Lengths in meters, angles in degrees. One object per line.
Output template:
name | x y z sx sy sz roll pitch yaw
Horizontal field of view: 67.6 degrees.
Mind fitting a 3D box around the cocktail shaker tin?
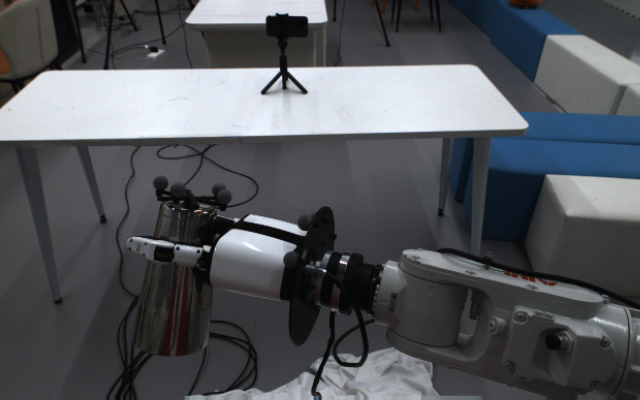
cocktail shaker tin | -0.166 0.087 0.587 0.093 0.170 0.093 10 10 -2
